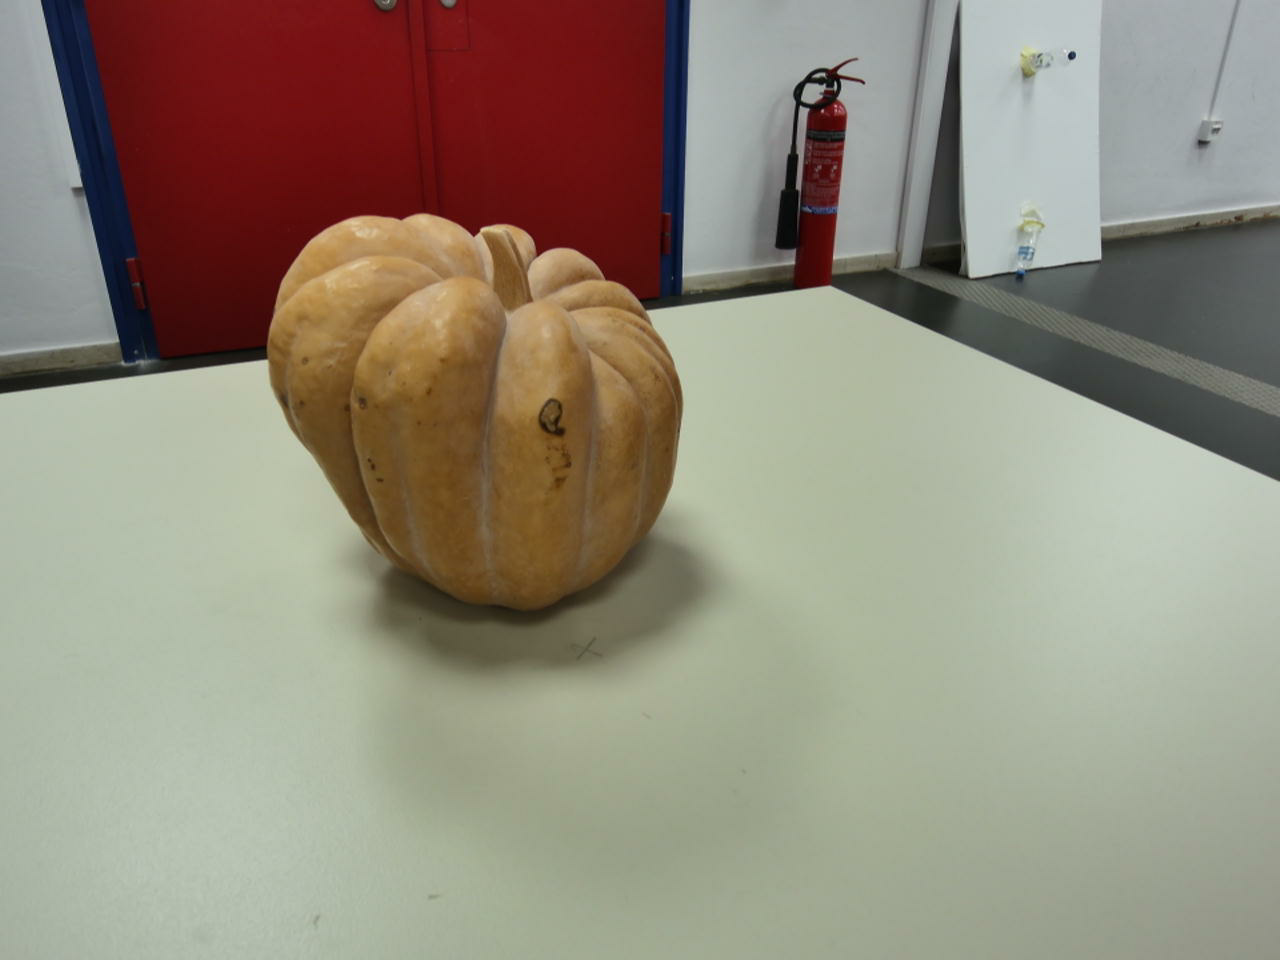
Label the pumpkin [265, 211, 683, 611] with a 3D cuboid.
[{"bbox_3d":[-0.074,-0.035,0.474,0.199,0.177,0.198,0,26,0],"label":"pumpkin"}]
